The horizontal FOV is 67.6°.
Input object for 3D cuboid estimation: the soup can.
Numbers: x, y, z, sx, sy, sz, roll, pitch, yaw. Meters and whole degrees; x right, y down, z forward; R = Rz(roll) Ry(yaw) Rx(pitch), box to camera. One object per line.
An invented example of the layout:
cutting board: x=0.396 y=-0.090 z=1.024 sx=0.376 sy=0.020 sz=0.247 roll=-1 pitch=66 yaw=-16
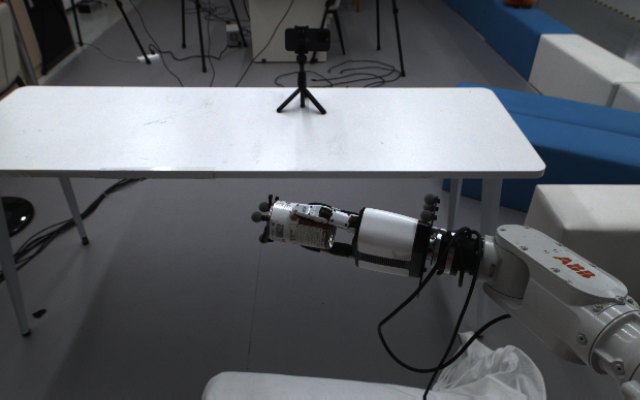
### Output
soup can: x=-0.026 y=0.041 z=0.781 sx=0.101 sy=0.067 sz=0.067 roll=9 pitch=35 yaw=10
